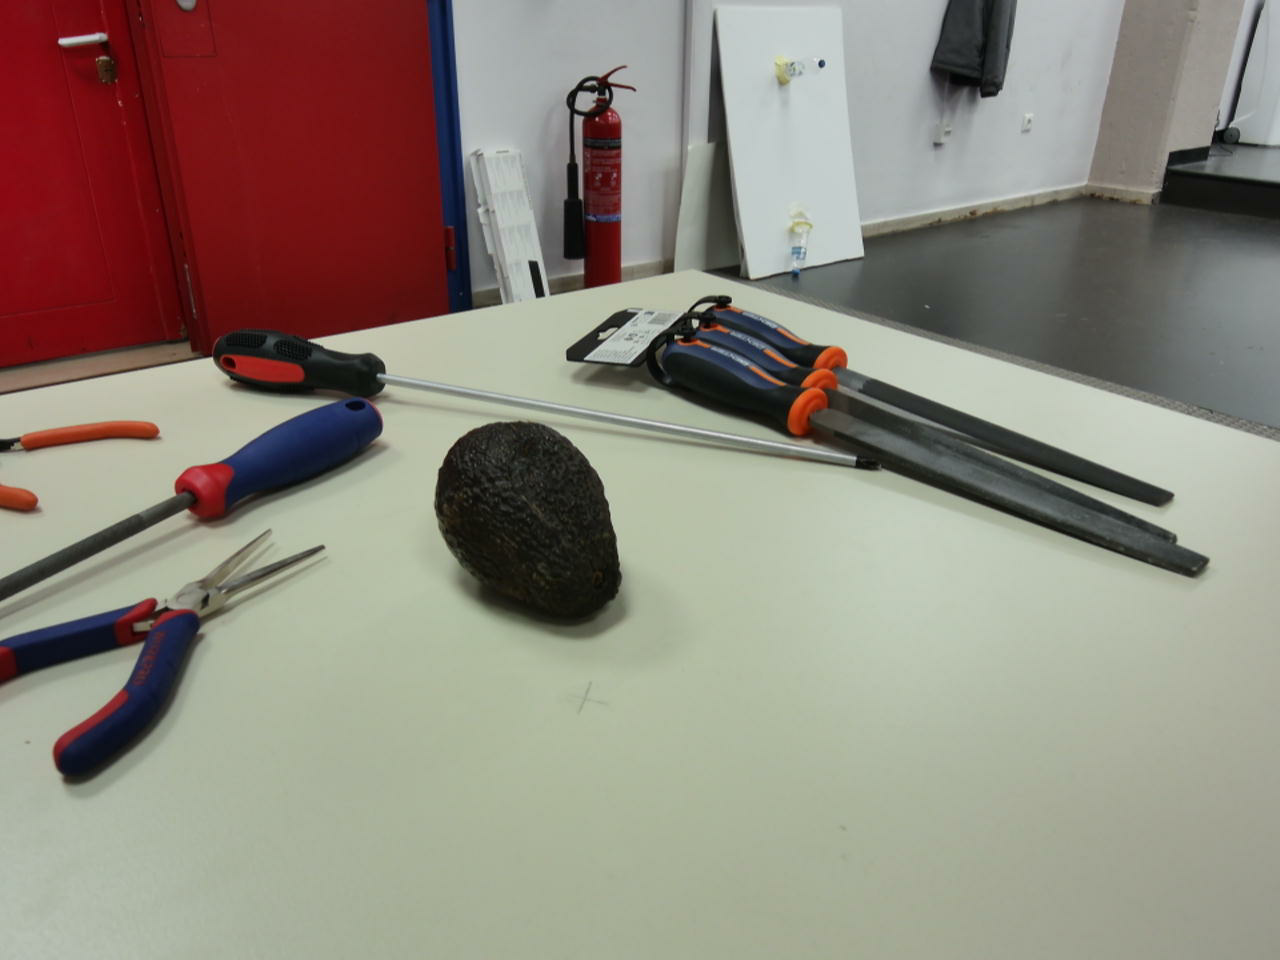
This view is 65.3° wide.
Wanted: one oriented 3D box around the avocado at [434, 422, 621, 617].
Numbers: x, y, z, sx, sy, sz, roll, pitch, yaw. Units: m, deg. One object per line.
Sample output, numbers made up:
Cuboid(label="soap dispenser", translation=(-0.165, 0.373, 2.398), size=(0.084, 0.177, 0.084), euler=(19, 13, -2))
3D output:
Cuboid(label="avocado", translation=(-0.048, 0.013, 0.408), size=(0.070, 0.069, 0.090), euler=(-6, 24, -13))
